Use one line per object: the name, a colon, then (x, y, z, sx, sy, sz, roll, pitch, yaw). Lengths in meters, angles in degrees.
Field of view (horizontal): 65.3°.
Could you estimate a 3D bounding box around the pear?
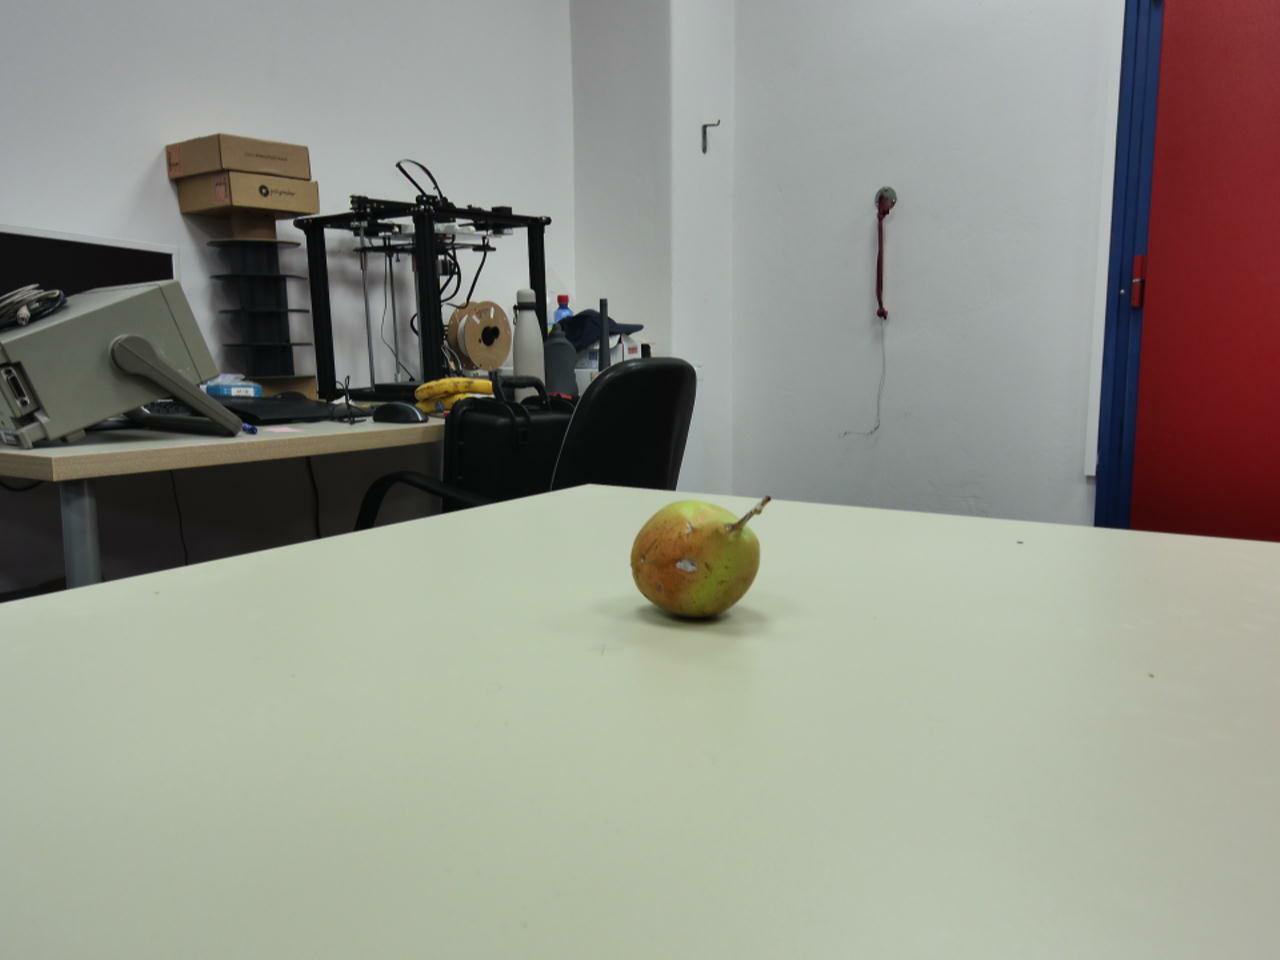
pear: (0.029, 0.039, 0.538, 0.068, 0.069, 0.070, 1, 6, -3)
